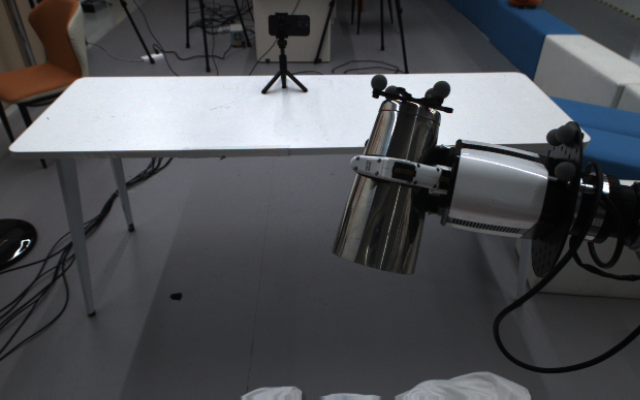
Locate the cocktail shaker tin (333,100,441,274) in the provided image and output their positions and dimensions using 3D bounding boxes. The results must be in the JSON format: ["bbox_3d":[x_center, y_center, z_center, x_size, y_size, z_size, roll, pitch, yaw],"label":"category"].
[{"bbox_3d":[0.077,-0.016,0.523,0.093,0.170,0.093,14,2,0],"label":"cocktail shaker tin"}]
